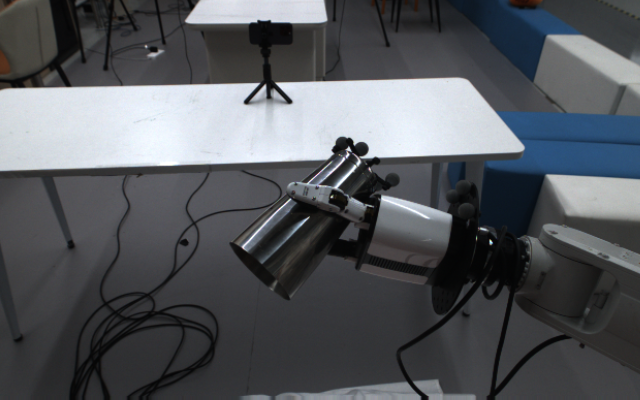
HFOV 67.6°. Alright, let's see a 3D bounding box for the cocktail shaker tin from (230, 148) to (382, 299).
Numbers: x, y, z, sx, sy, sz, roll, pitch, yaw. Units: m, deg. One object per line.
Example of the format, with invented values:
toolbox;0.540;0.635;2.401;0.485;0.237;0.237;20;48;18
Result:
cocktail shaker tin;-0.011;0.016;0.559;0.093;0.093;0.170;32;65;35
